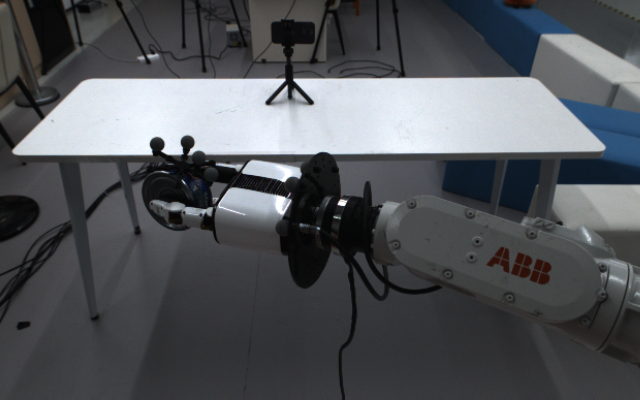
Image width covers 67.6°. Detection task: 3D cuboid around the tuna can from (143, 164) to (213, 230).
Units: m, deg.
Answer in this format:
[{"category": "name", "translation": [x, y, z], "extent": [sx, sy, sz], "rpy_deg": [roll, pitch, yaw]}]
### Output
[{"category": "tuna can", "translation": [-0.182, -0.004, 0.617], "extent": [0.085, 0.085, 0.034], "rpy_deg": [15, 30, 18]}]
